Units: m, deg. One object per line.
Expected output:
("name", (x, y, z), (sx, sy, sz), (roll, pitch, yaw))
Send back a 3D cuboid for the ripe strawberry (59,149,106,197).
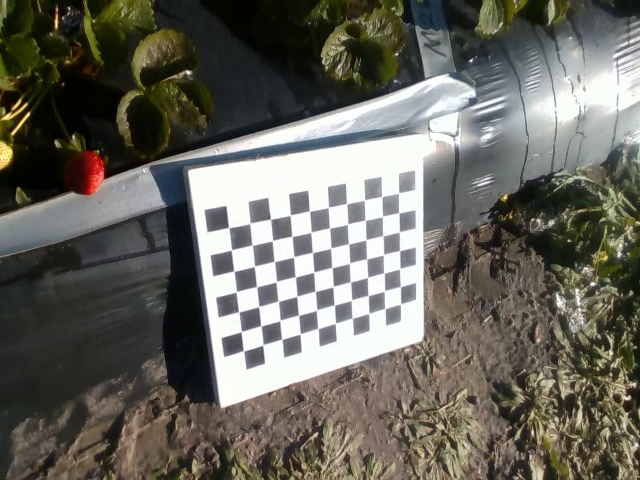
("ripe strawberry", (-0.173, -0.046, 0.472), (0.036, 0.038, 0.045), (-14, 35, -23))
